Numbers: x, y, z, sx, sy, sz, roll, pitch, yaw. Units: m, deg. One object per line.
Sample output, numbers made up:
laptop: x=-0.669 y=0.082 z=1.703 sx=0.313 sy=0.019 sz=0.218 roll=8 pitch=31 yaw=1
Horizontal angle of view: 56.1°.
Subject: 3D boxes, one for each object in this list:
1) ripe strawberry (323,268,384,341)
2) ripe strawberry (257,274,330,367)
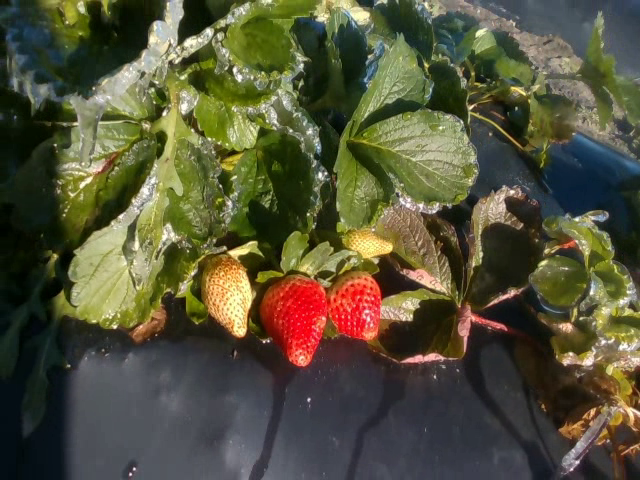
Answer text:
ripe strawberry: x=0.021 y=0.037 z=0.315 sx=0.036 sy=0.041 sz=0.030 roll=-31 pitch=-10 yaw=-11
ripe strawberry: x=-0.010 y=0.045 z=0.292 sx=0.036 sy=0.040 sz=0.052 roll=-7 pitch=44 yaw=-9
